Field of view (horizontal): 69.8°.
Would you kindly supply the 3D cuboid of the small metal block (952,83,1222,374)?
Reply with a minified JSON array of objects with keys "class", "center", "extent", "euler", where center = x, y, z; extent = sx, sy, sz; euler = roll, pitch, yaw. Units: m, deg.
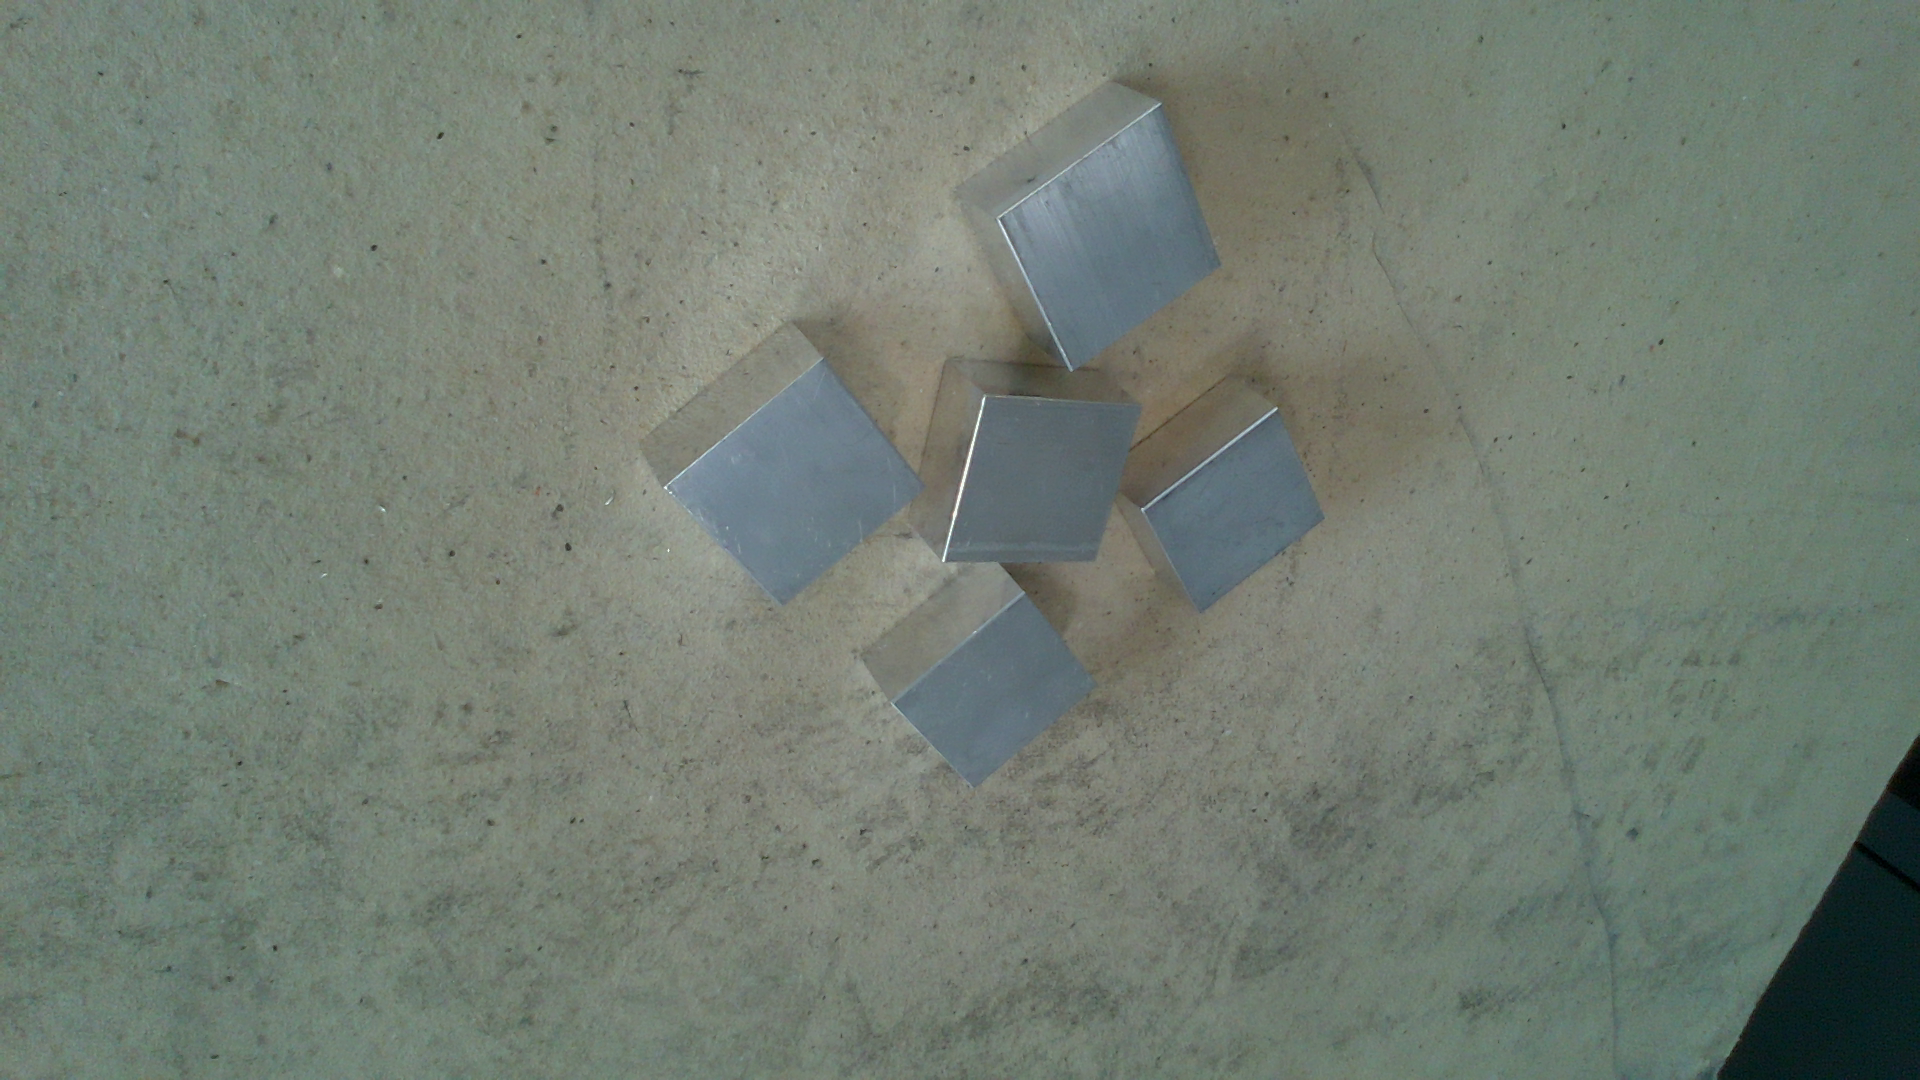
[{"class":"small metal block","center":[0.034,-0.081,0.358],"extent":[0.050,0.025,0.050],"euler":[-36,128,-5]}]

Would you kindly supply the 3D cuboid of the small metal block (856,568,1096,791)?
[{"class":"small metal block","center":[0.006,0.040,0.417],"extent":[0.050,0.025,0.050],"euler":[-40,130,-2]}]

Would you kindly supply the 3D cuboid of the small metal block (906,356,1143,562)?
[{"class":"small metal block","center":[0.017,-0.022,0.385],"extent":[0.050,0.025,0.050],"euler":[0,118,-28]}]

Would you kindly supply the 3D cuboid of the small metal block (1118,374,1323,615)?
[{"class":"small metal block","center":[0.078,-0.014,0.424],"extent":[0.050,0.025,0.050],"euler":[-37,129,-3]}]

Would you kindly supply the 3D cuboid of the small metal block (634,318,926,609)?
[{"class":"small metal block","center":[-0.046,-0.019,0.354],"extent":[0.050,0.025,0.050],"euler":[-41,129,-2]}]
